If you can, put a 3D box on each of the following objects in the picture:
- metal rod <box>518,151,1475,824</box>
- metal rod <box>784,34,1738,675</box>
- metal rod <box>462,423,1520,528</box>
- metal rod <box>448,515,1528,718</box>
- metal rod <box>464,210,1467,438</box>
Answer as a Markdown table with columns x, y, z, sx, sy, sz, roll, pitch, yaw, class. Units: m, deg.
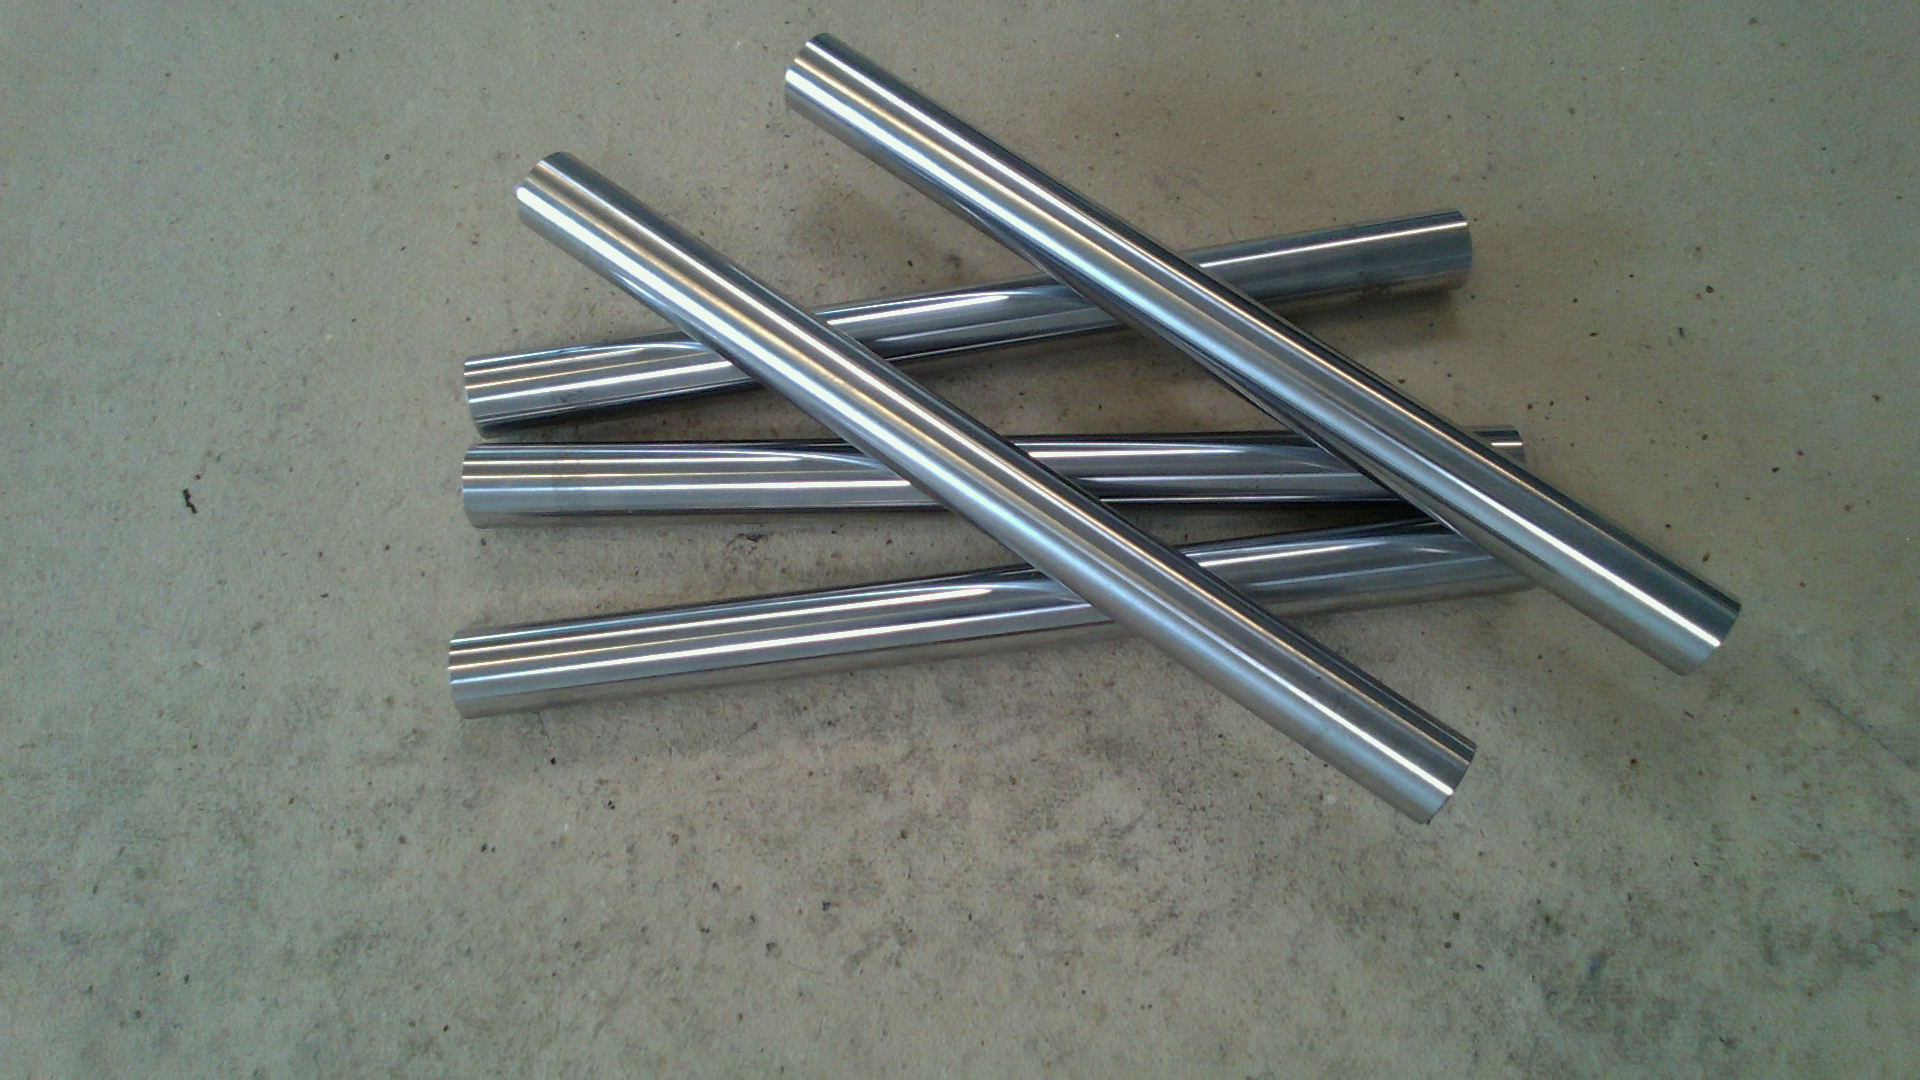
| x | y | z | sx | sy | sz | roll | pitch | yaw | class |
| --- | --- | --- | --- | --- | --- | --- | --- | --- | --- |
| 0.001 | -0.021 | 0.376 | 0.300 | 0.025 | 0.025 | 34 | 73 | 11 | metal rod |
| 0.075 | -0.059 | 0.390 | 0.300 | 0.025 | 0.025 | 35 | 74 | 12 | metal rod |
| 0.009 | -0.019 | 0.402 | 0.300 | 0.025 | 0.025 | -1 | 70 | -1 | metal rod |
| 0.011 | 0.019 | 0.388 | 0.300 | 0.025 | 0.025 | -7 | 70 | -3 | metal rod |
| 0.004 | -0.066 | 0.419 | 0.300 | 0.025 | 0.025 | -9 | 70 | -3 | metal rod |
